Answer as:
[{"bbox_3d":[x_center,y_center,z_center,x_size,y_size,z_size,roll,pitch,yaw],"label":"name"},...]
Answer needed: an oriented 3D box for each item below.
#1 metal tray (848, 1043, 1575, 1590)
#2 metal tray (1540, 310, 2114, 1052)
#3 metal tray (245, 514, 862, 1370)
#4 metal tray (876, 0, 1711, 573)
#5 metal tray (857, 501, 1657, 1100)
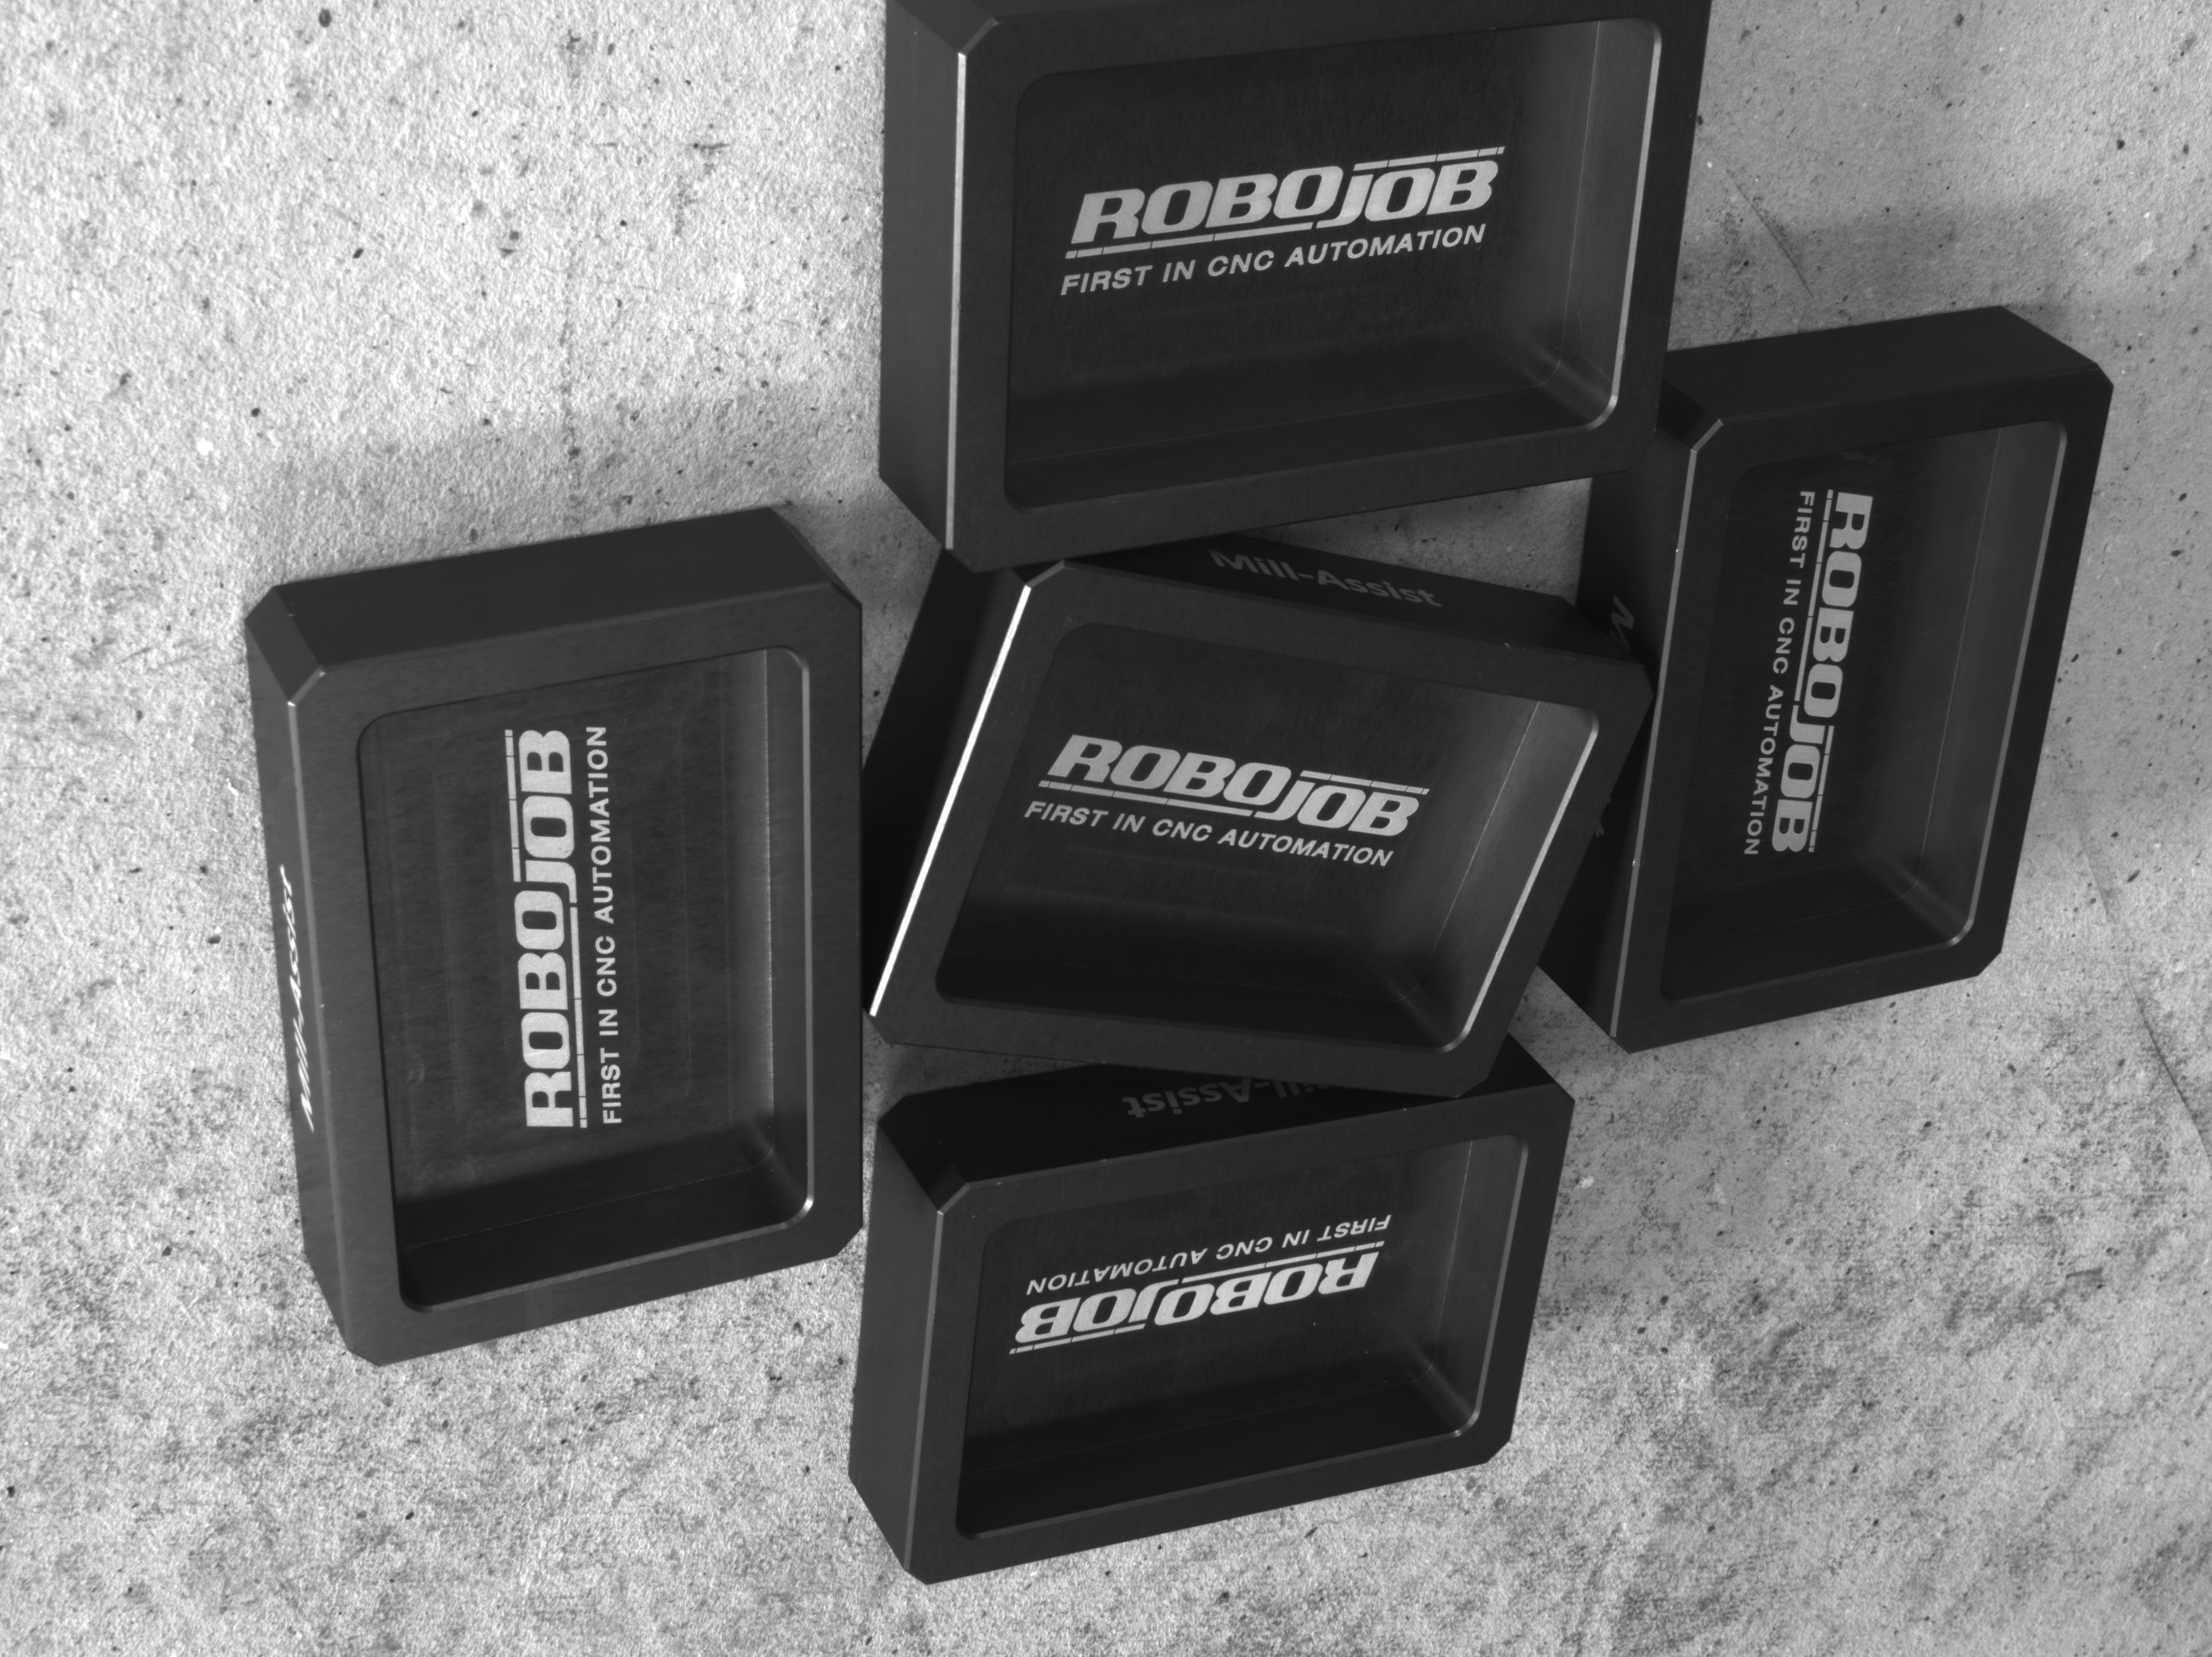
[{"bbox_3d":[0.020,0.089,0.698,0.130,0.030,0.090,-7,121,-24],"label":"metal tray"},{"bbox_3d":[0.132,-0.027,0.689,0.090,0.030,0.130,-10,123,-22],"label":"metal tray"},{"bbox_3d":[-0.087,0.019,0.599,0.090,0.030,0.130,-11,123,-22],"label":"metal tray"},{"bbox_3d":[0.030,-0.096,0.593,0.130,0.030,0.090,-10,123,-22],"label":"metal tray"},{"bbox_3d":[0.023,-0.003,0.645,0.130,0.030,0.090,8,116,-31],"label":"metal tray"}]
